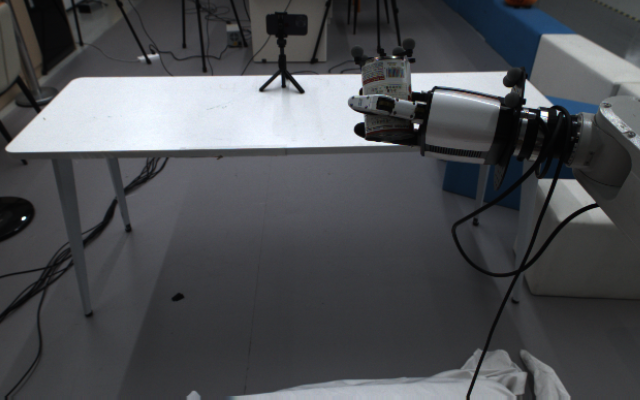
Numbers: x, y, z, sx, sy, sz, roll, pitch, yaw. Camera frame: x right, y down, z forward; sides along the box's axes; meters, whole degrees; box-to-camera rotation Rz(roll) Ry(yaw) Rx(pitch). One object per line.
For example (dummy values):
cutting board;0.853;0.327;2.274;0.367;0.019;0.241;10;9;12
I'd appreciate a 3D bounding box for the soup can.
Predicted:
soup can;0.093;-0.135;0.654;0.067;0.101;0.067;-3;-1;0
